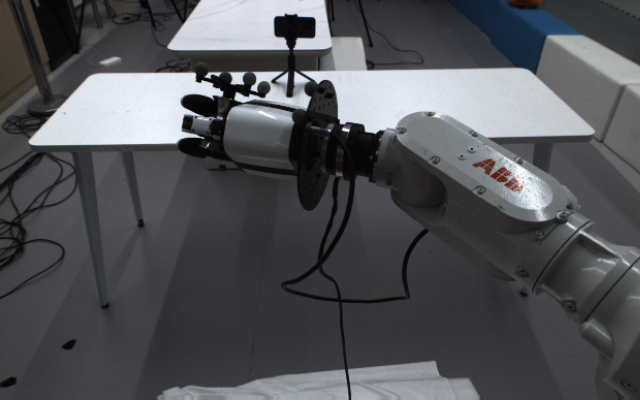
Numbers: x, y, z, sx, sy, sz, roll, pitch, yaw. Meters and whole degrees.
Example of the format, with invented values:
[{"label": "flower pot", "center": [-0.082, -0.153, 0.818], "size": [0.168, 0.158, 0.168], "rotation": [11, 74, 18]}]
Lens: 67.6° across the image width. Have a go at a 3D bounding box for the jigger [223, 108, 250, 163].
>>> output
[{"label": "jigger", "center": [-0.123, -0.095, 0.623], "size": [0.043, 0.071, 0.043], "rotation": [13, 1, 0]}]
